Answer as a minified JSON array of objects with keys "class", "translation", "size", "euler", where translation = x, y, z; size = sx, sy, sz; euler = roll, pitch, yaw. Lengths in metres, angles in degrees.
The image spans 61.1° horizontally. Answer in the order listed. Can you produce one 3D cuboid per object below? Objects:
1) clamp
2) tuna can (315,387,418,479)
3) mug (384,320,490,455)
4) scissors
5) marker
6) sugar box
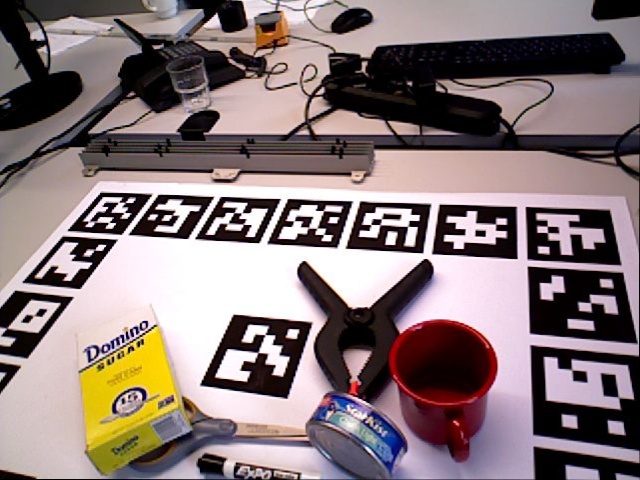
[{"class":"clamp","translation":[0.046,0.095,0.598],"size":[0.165,0.037,0.199],"euler":[-4,44,8]},{"class":"tuna can","translation":[0.039,0.168,0.468],"size":[0.086,0.087,0.033],"euler":[16,49,28]},{"class":"mug","translation":[0.108,0.139,0.490],"size":[0.093,0.083,0.116],"euler":[-16,39,-4]},{"class":"scissors","translation":[-0.097,0.179,0.536],"size":[0.203,0.016,0.086],"euler":[-4,39,8]},{"class":"marker","translation":[-0.062,0.211,0.497],"size":[0.121,0.020,0.019],"euler":[0,44,14]},{"class":"sugar box","translation":[-0.197,0.146,0.571],"size":[0.092,0.046,0.175],"euler":[-23,37,-12]}]
